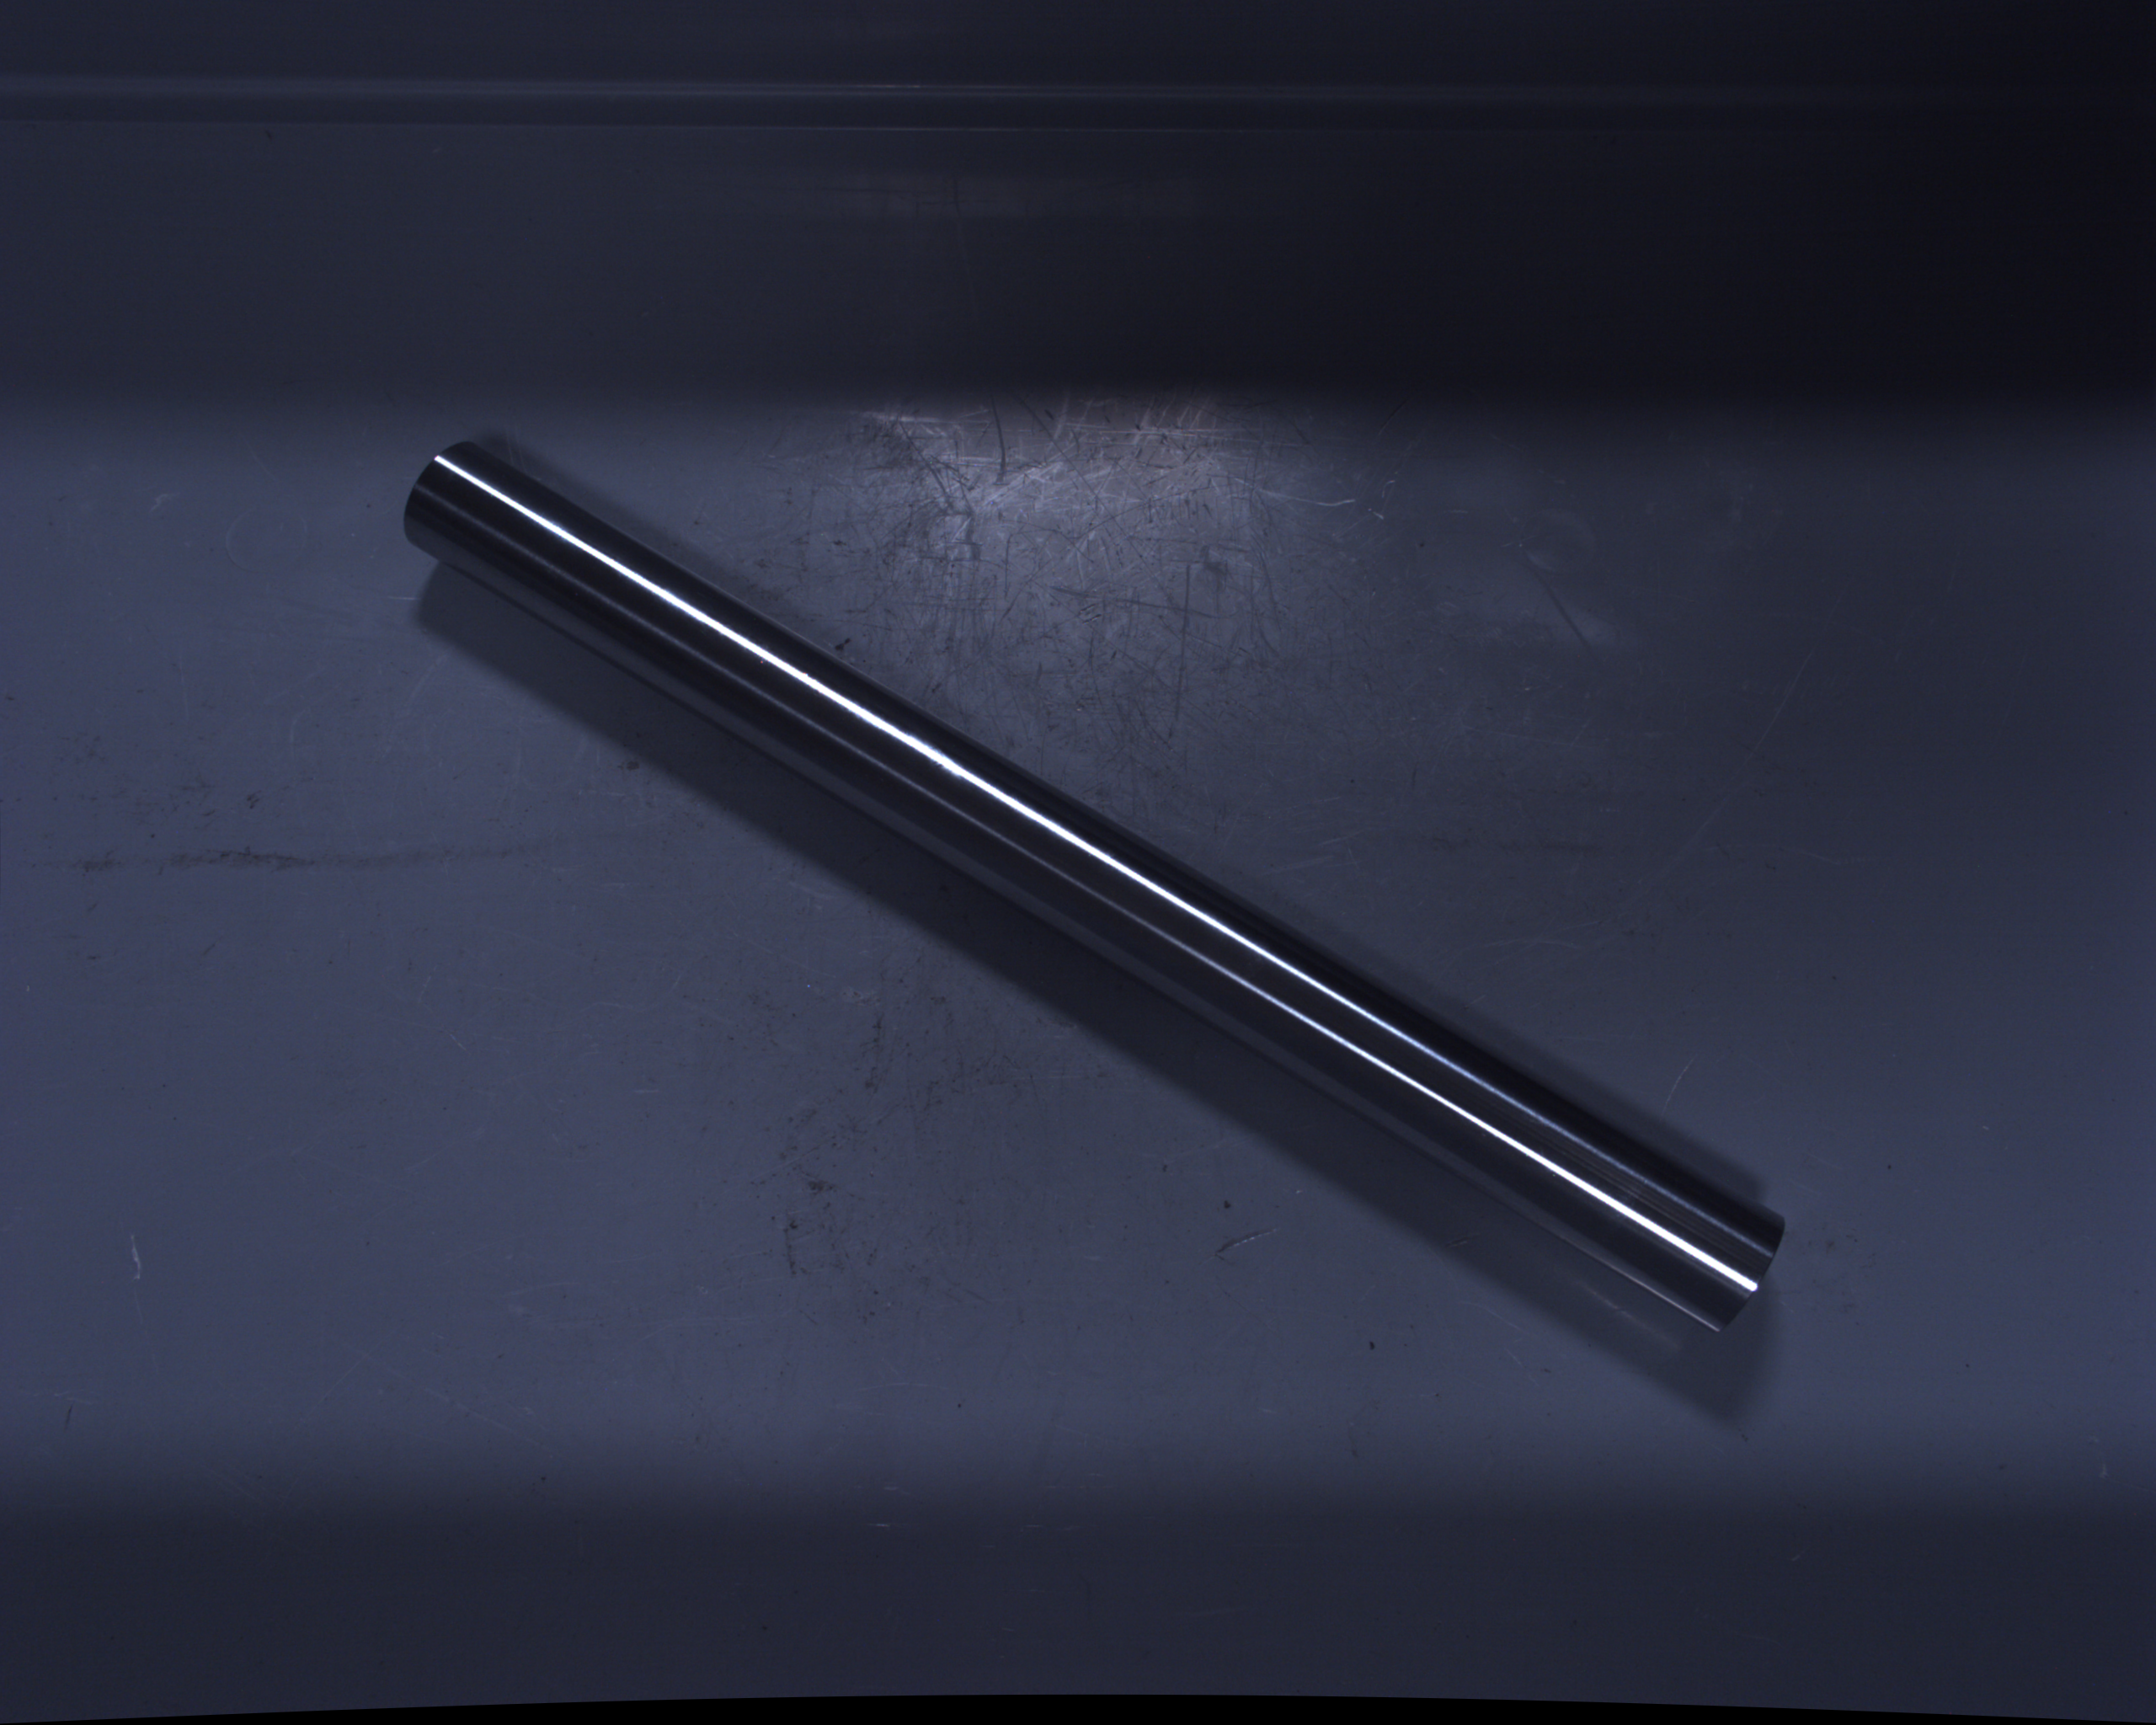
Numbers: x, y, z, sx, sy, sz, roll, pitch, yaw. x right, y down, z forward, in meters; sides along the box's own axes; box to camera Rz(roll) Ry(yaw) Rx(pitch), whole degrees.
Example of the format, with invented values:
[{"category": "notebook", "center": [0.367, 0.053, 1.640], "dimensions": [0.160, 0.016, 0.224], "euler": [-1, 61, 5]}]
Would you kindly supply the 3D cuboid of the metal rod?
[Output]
[{"category": "metal rod", "center": [-0.004, 0.000, 0.407], "dimensions": [0.301, 0.025, 0.025], "euler": [31, 73, 10]}]
